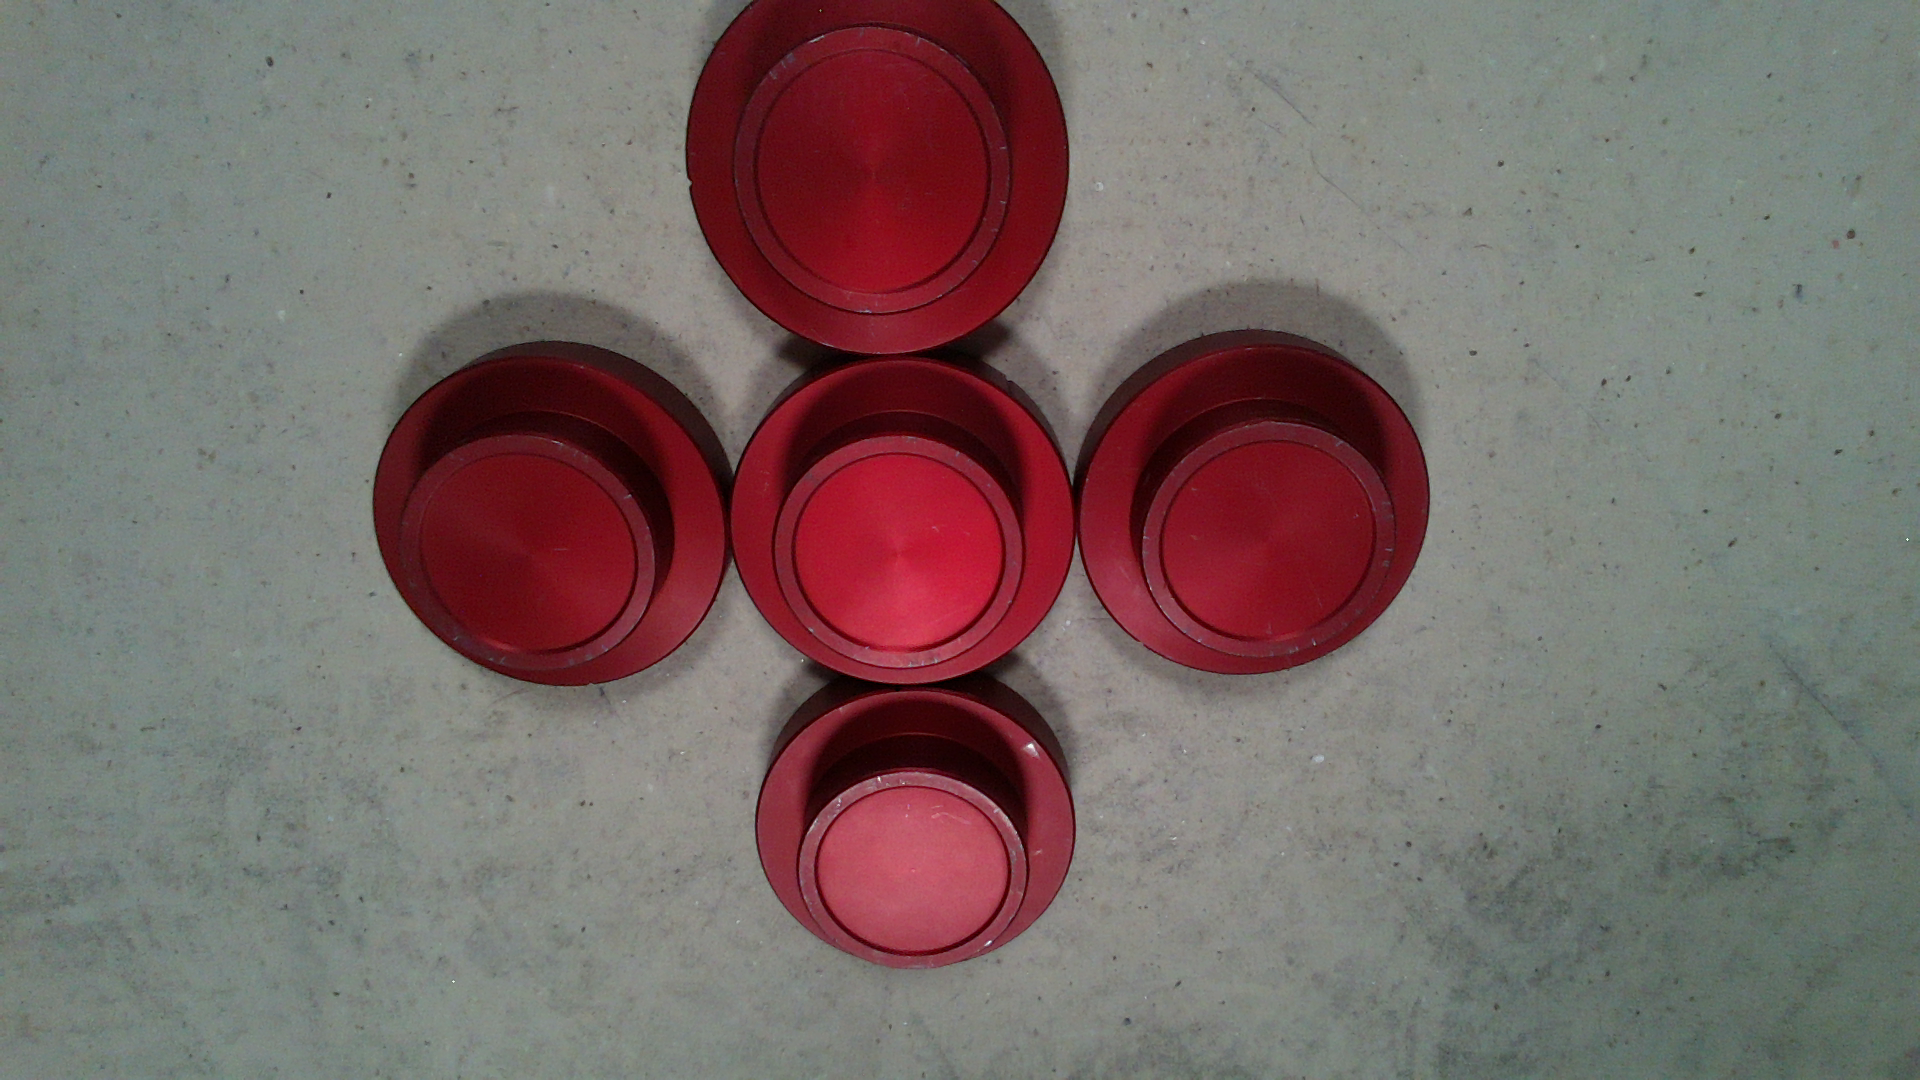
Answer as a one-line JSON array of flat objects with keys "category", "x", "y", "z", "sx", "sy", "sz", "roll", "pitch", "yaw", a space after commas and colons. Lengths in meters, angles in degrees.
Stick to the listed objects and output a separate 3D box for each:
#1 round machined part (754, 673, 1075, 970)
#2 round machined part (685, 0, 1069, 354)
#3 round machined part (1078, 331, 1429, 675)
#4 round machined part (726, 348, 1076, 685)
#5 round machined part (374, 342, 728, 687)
[{"category": "round machined part", "x": -0.014, "y": 0.090, "z": 0.418, "sx": 0.098, "sy": 0.042, "sz": 0.098, "roll": 0, "pitch": 110, "yaw": 0}, {"category": "round machined part", "x": -0.021, "y": -0.095, "z": 0.350, "sx": 0.098, "sy": 0.042, "sz": 0.098, "roll": 0, "pitch": 110, "yaw": 0}, {"category": "round machined part", "x": 0.082, "y": -0.006, "z": 0.383, "sx": 0.098, "sy": 0.042, "sz": 0.098, "roll": 0, "pitch": 110, "yaw": 0}, {"category": "round machined part", "x": -0.016, "y": -0.003, "z": 0.384, "sx": 0.098, "sy": 0.042, "sz": 0.098, "roll": 0, "pitch": 110, "yaw": 0}, {"category": "round machined part", "x": -0.114, "y": -0.003, "z": 0.384, "sx": 0.098, "sy": 0.042, "sz": 0.098, "roll": 0, "pitch": 110, "yaw": 0}]
